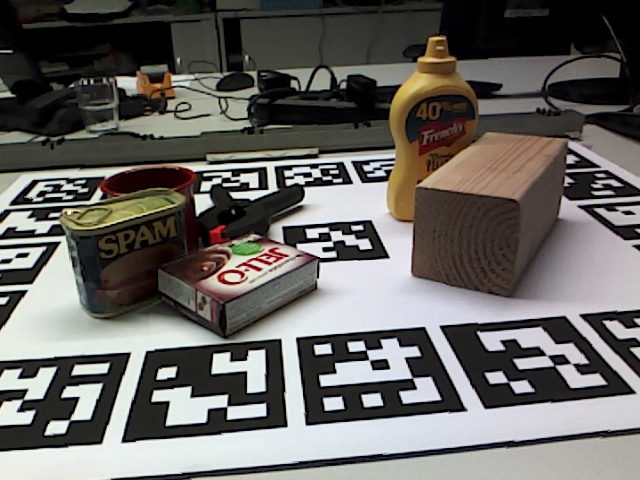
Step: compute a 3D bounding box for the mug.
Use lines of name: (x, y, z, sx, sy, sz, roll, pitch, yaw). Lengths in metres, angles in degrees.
mug: (-0.166, -0.010, 0.648, 0.093, 0.081, 0.117, 6, 29, 15)

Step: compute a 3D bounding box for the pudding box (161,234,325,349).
pudding box: (-0.065, 0.040, 0.540, 0.090, 0.038, 0.113, 22, 34, 38)

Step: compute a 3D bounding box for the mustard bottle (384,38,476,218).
mustard bottle: (0.120, -0.121, 0.675, 0.096, 0.191, 0.059, -7, 28, -9)

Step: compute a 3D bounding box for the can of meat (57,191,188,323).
can of meat: (-0.166, 0.013, 0.538, 0.101, 0.083, 0.058, -20, 33, -32)

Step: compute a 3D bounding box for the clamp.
clamp: (-0.089, -0.030, 0.693, 0.122, 0.036, 0.165, 6, 29, 11)

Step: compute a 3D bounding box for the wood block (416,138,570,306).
wood block: (0.175, -0.029, 0.611, 0.090, 0.091, 0.205, 11, 27, 29)
